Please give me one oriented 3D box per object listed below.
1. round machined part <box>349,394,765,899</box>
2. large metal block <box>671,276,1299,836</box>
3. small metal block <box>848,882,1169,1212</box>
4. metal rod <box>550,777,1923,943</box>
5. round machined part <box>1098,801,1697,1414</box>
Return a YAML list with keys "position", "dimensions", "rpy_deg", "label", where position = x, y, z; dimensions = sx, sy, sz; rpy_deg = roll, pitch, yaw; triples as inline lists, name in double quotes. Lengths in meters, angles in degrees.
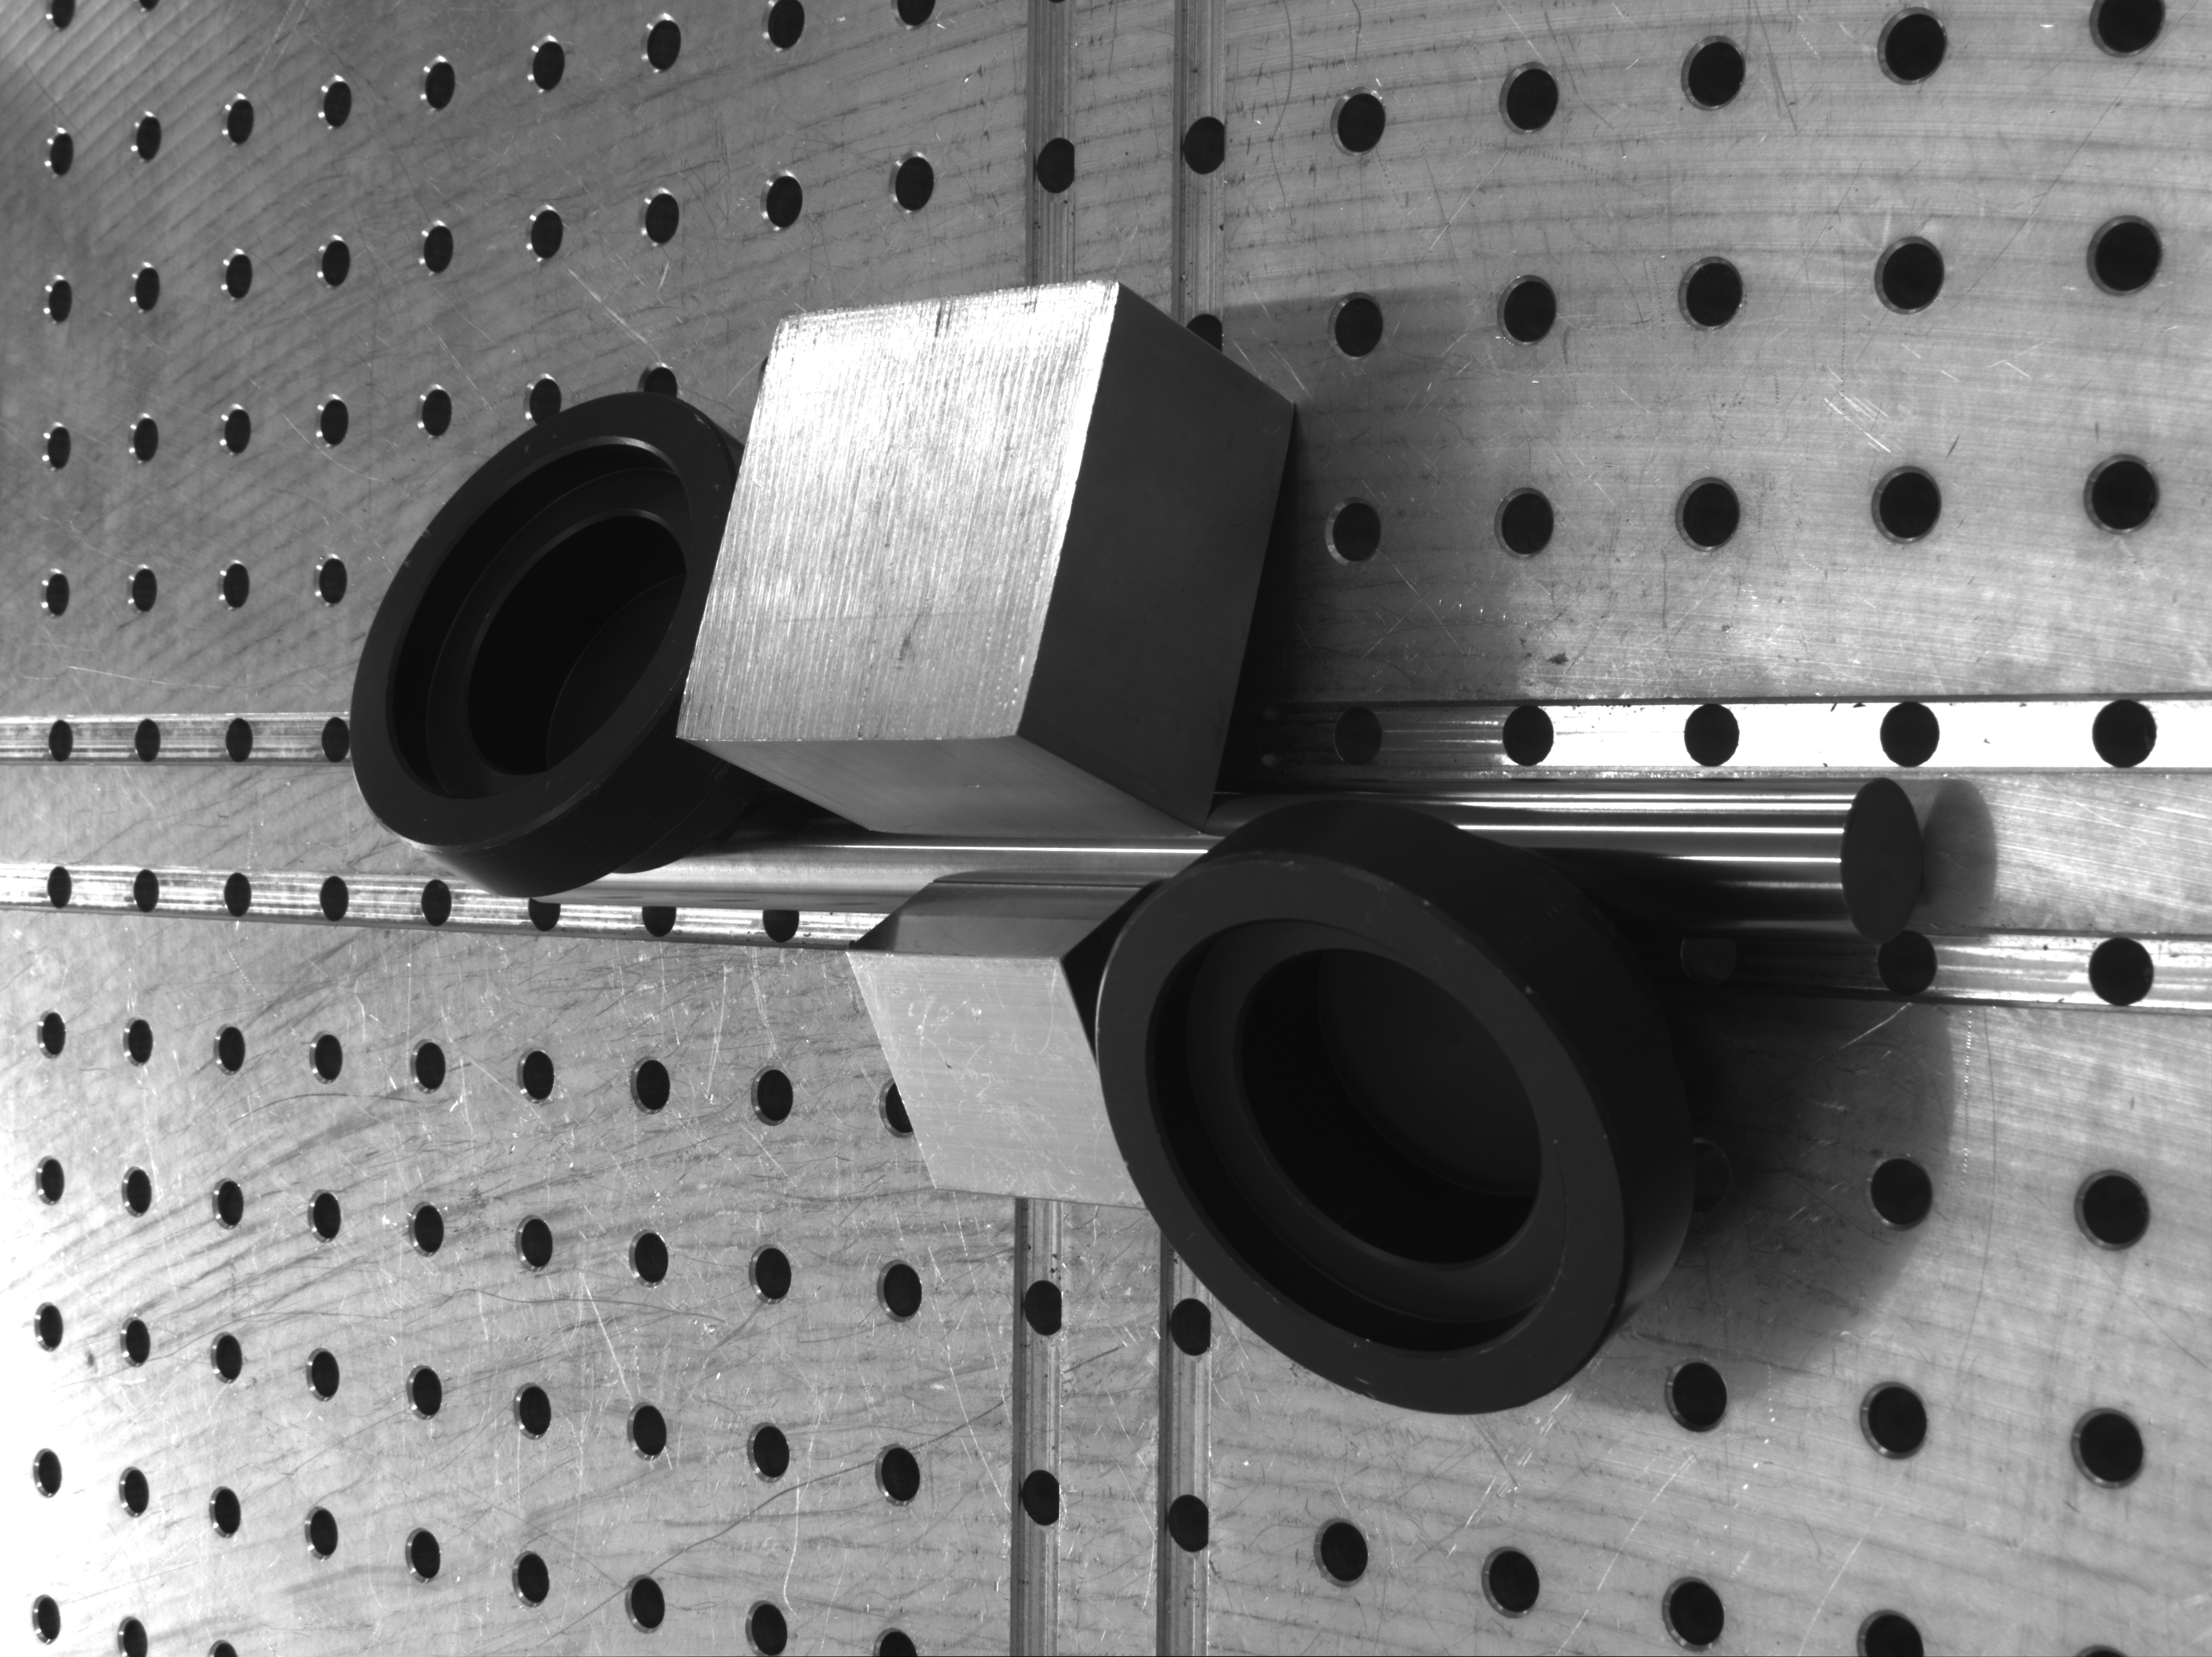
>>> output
- position: [-0.095, -0.030, 0.701]
  dimensions: [0.098, 0.042, 0.098]
  rpy_deg: [-21, 52, 29]
  label: "round machined part"
- position: [-0.021, -0.045, 0.635]
  dimensions: [0.080, 0.050, 0.080]
  rpy_deg: [1, 72, 40]
  label: "large metal block"
- position: [-0.011, 0.038, 0.646]
  dimensions: [0.050, 0.025, 0.050]
  rpy_deg: [1, 119, 40]
  label: "small metal block"
- position: [0.002, 0.004, 0.648]
  dimensions: [0.299, 0.025, 0.025]
  rpy_deg: [1, 90, 40]
  label: "metal rod"
- position: [0.050, 0.040, 0.579]
  dimensions: [0.098, 0.042, 0.098]
  rpy_deg: [21, 127, 30]
  label: "round machined part"
